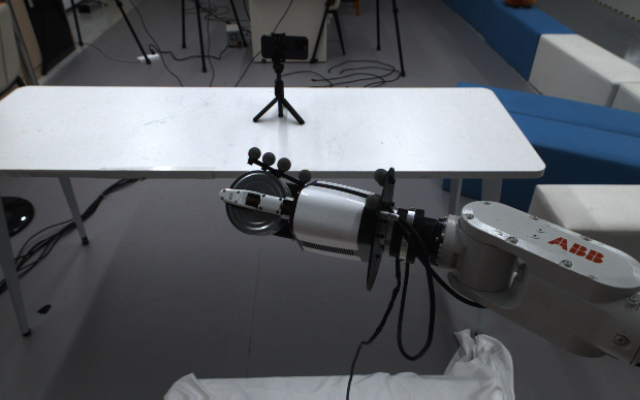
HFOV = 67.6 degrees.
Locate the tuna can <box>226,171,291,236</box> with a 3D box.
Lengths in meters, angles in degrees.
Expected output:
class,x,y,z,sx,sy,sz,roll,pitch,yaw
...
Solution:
class,x,y,z,sx,sy,sz,roll,pitch,yaw
tuna can,-0.078,0.004,0.646,0.085,0.085,0.034,13,-6,16
